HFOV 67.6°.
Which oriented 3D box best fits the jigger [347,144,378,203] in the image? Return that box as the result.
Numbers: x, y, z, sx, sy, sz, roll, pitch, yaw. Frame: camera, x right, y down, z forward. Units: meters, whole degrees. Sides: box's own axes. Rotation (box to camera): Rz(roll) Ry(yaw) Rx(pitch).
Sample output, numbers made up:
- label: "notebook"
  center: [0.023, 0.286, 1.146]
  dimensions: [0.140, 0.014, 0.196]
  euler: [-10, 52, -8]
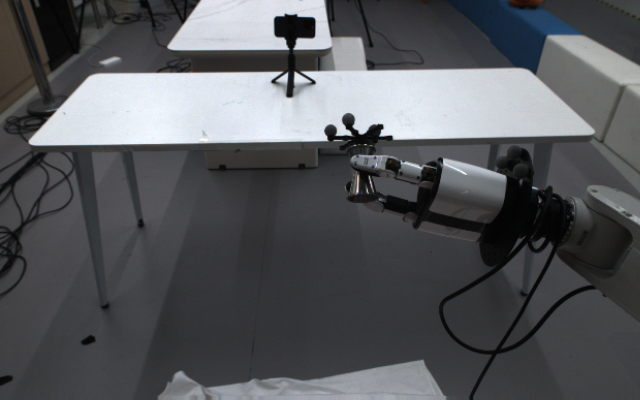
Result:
- label: "jigger"
  center: [0.056, -0.036, 0.635]
  dimensions: [0.043, 0.043, 0.071]
  euler: [0, 75, -3]
